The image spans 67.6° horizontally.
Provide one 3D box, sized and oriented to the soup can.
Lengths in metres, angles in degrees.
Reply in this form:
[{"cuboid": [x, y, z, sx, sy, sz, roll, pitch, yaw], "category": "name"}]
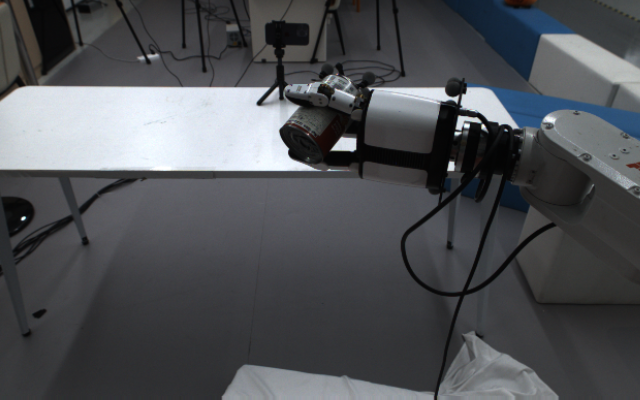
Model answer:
[{"cuboid": [0.004, -0.106, 0.629, 0.067, 0.067, 0.101, 25, 66, 30], "category": "soup can"}]
